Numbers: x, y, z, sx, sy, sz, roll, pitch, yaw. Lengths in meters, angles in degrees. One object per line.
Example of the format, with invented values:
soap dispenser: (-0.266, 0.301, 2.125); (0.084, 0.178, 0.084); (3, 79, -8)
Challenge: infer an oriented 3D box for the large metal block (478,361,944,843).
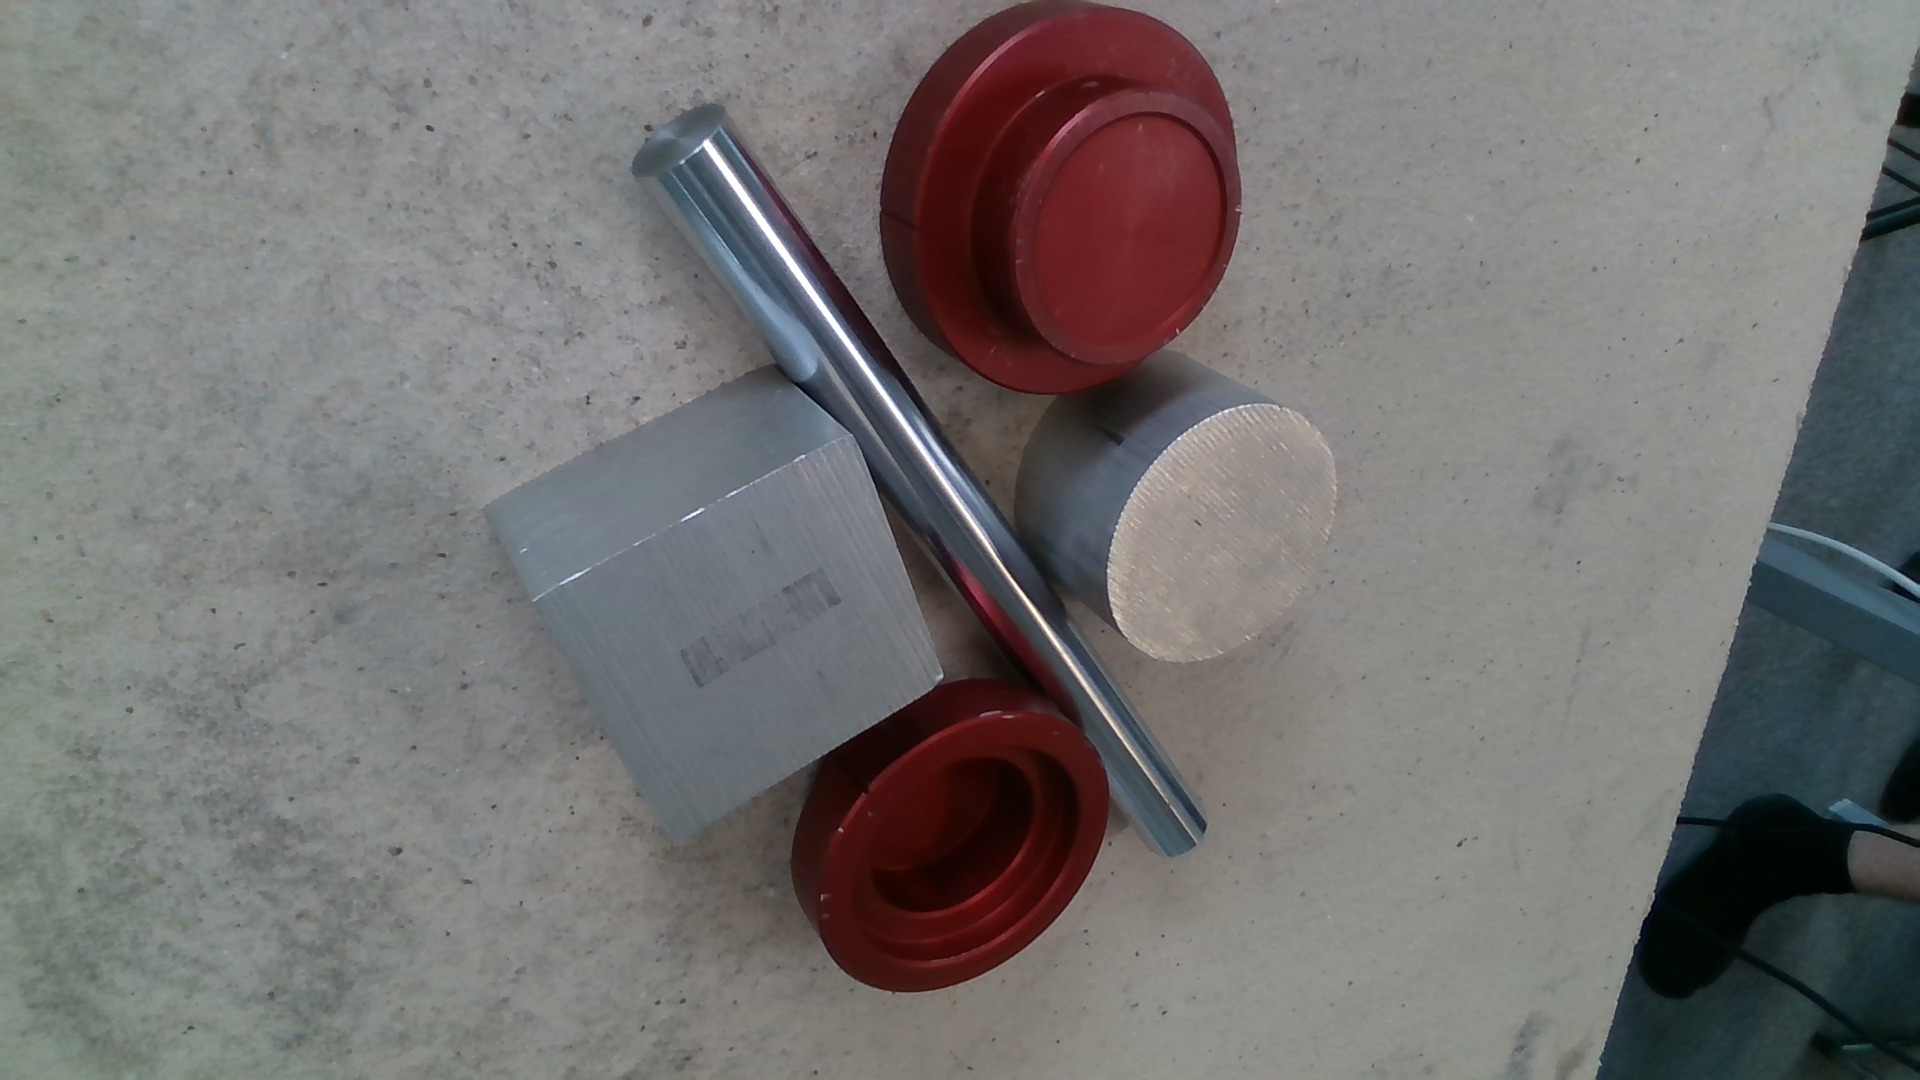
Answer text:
large metal block: (-0.060, 0.014, 0.346); (0.080, 0.050, 0.080); (-30, 127, -15)

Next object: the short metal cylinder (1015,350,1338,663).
short metal cylinder: (0.063, -0.011, 0.406); (0.080, 0.050, 0.080); (-14, 122, -25)

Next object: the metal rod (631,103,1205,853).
metal rod: (0.007, 0.006, 0.399); (0.025, 0.025, 0.301); (-41, 129, -6)

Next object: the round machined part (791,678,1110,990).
round machined part: (-0.006, 0.085, 0.421); (0.098, 0.042, 0.098); (-14, 122, -25)

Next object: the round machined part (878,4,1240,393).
round machined part: (0.032, -0.084, 0.353); (0.098, 0.042, 0.098); (-14, 122, -25)
